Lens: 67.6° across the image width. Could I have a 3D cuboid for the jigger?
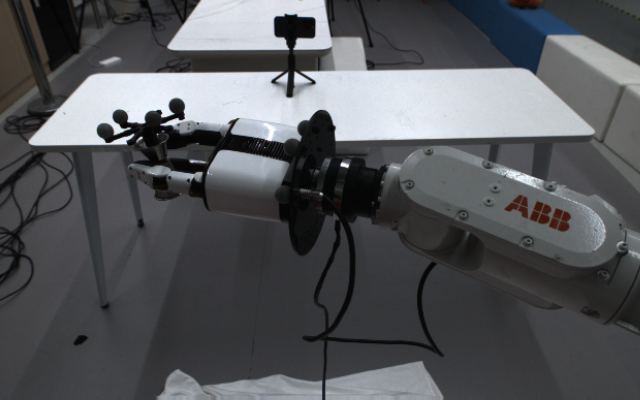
[{"bbox_3d":[-0.186,-0.039,0.571,0.043,0.071,0.043,-10,32,6],"label":"jigger"}]
